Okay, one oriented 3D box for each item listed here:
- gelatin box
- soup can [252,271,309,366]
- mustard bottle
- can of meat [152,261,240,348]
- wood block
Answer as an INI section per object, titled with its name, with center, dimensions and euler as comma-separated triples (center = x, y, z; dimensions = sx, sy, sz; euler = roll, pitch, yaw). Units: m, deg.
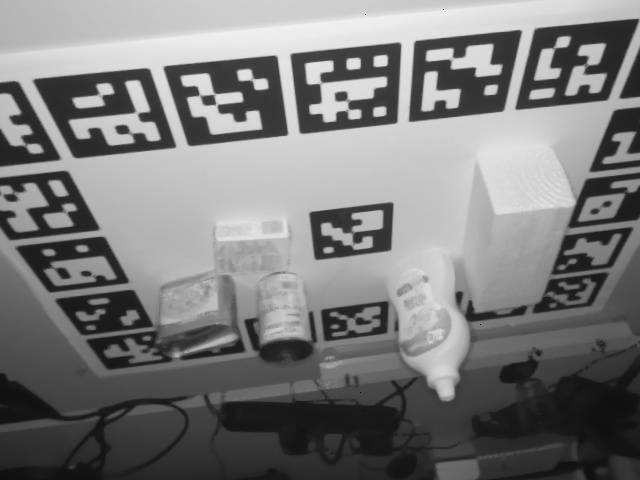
[gelatin box]
center = -0.082, -0.005, 0.811
dimensions = 0.090, 0.030, 0.072
euler = -1, 138, -12
[soup can]
center = -0.052, 0.097, 0.875
dimensions = 0.068, 0.102, 0.067
euler = -5, 139, -4
[mustard bottle]
center = 0.145, 0.097, 0.860
dimensions = 0.095, 0.192, 0.058
euler = -21, 139, 19
[can of meat]
center = -0.152, 0.079, 0.865
dimensions = 0.101, 0.084, 0.057
euler = -13, 140, 10
[wood block]
center = 0.233, -0.014, 0.813
dimensions = 0.091, 0.090, 0.204
euler = -4, 145, -1
